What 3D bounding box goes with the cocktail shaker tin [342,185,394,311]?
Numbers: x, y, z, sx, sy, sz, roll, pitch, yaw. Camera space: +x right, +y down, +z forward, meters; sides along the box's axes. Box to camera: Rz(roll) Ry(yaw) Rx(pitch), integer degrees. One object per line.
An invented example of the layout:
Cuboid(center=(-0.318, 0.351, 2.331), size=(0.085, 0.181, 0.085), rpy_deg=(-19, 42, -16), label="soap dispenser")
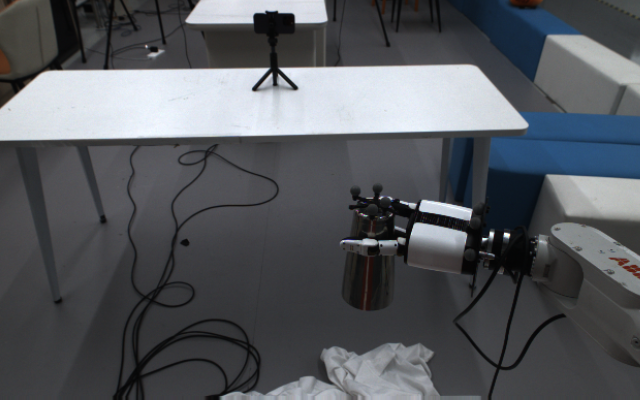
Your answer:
Cuboid(center=(0.088, 0.086, 0.818), size=(0.093, 0.170, 0.093), rpy_deg=(1, 27, -1), label="cocktail shaker tin")
